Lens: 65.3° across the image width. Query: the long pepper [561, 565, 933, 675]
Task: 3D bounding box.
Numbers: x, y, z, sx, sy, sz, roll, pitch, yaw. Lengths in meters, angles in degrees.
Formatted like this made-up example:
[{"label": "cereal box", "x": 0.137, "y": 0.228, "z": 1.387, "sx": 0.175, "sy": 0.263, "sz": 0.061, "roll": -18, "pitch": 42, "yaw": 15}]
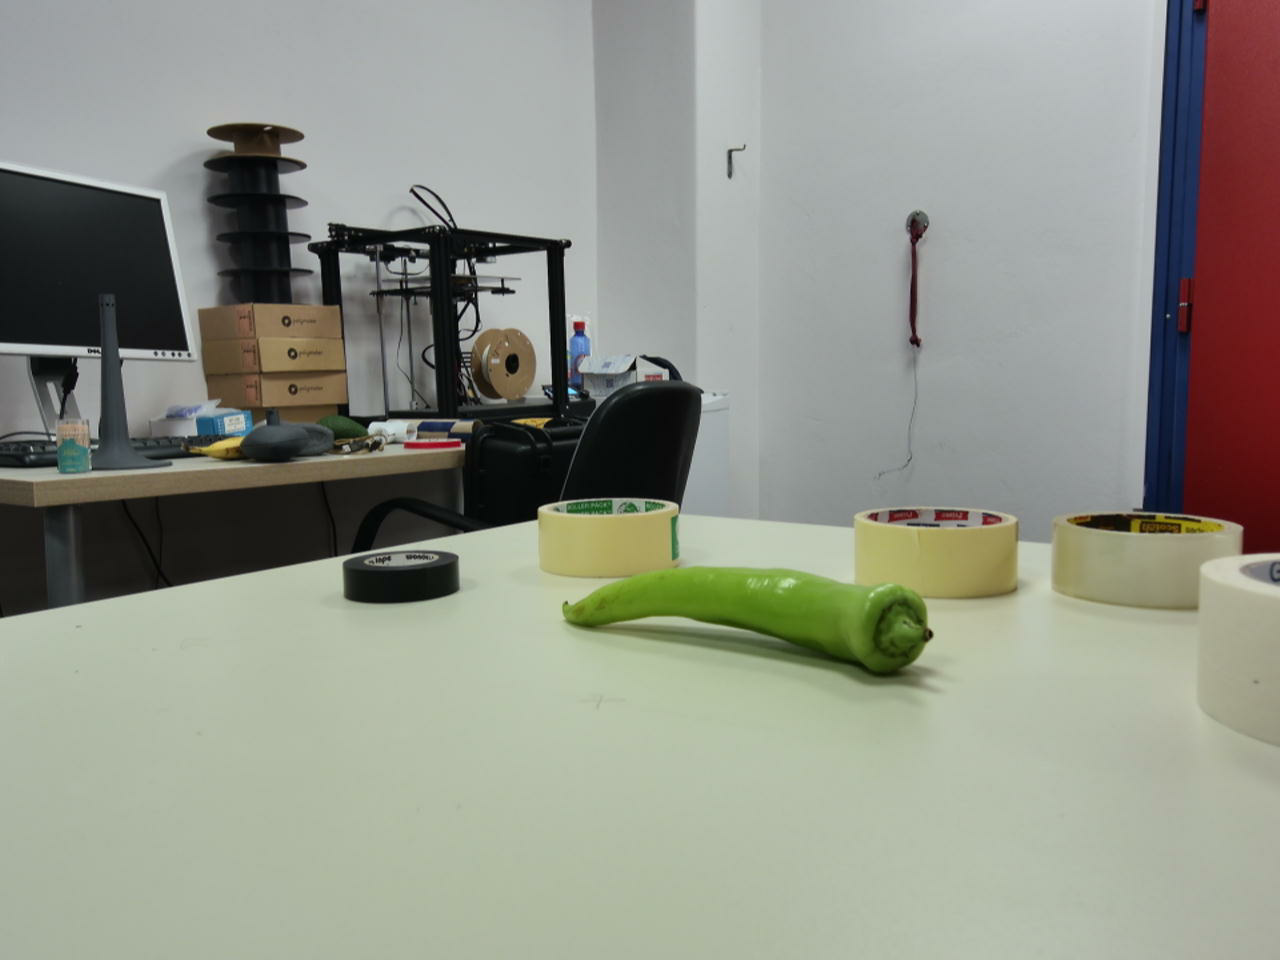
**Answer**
[{"label": "long pepper", "x": 0.045, "y": 0.056, "z": 0.455, "sx": 0.197, "sy": 0.038, "sz": 0.046, "roll": 3, "pitch": 4, "yaw": 40}]
